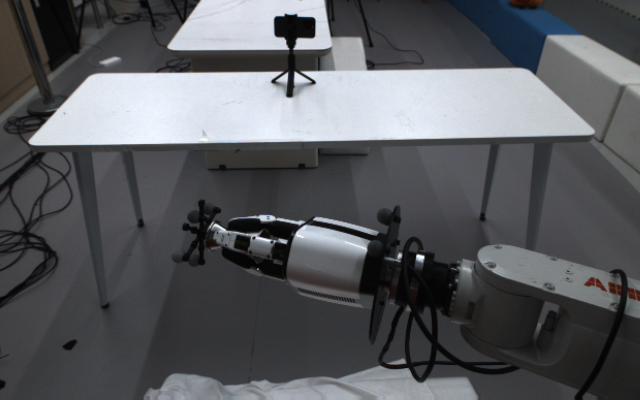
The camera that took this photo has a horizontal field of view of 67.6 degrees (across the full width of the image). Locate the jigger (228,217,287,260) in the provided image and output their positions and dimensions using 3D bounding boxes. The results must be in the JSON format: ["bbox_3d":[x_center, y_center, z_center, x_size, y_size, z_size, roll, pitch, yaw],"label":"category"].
[{"bbox_3d":[-0.096,0.047,0.597,0.071,0.043,0.043,10,35,16],"label":"jigger"}]
